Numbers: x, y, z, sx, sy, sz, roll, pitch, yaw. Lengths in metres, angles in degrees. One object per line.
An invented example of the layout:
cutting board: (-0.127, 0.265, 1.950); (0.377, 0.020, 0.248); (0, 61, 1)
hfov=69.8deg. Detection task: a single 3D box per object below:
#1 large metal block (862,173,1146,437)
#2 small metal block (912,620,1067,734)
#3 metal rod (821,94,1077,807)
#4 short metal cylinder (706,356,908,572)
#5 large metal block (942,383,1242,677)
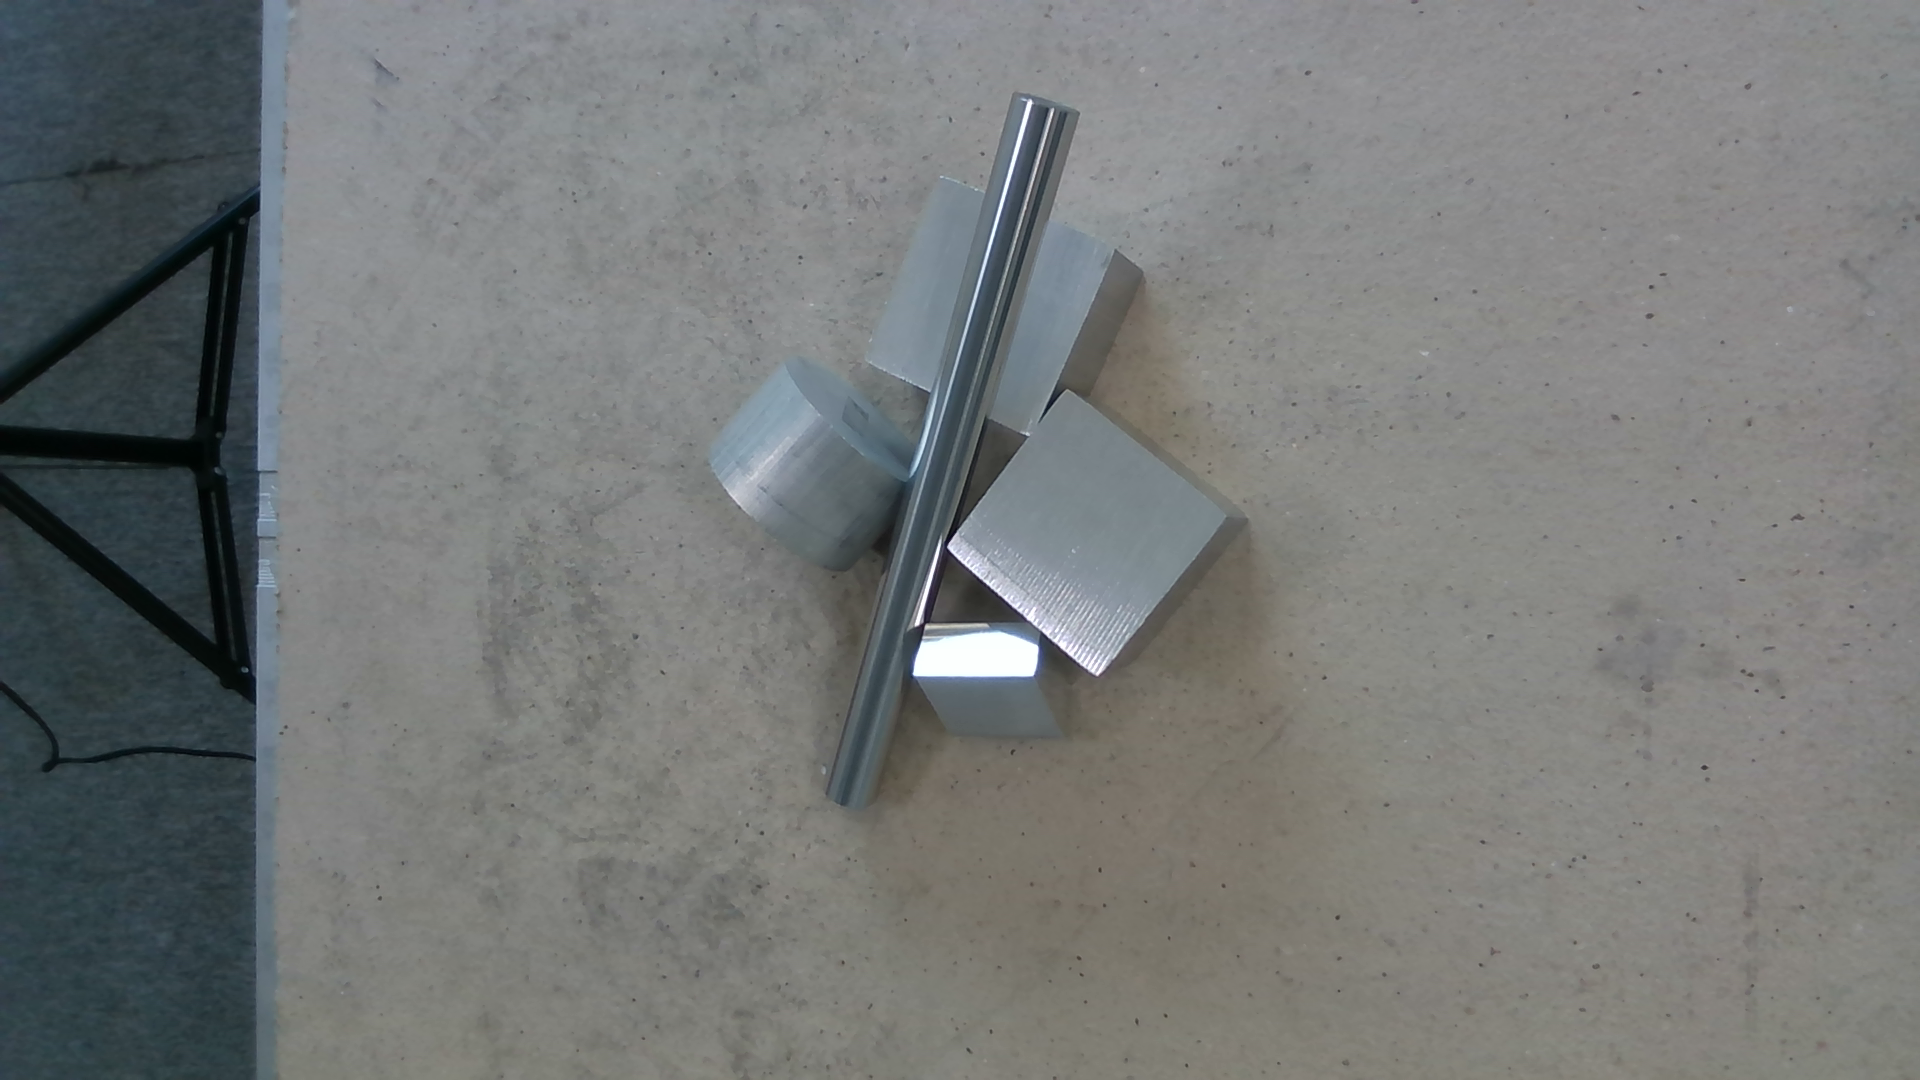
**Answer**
large metal block: (0.018, -0.093, 0.565); (0.080, 0.050, 0.080); (26, 99, 18)
small metal block: (0.014, 0.057, 0.566); (0.050, 0.050, 0.025); (-2, 54, 20)
metal rod: (-0.010, -0.022, 0.546); (0.025, 0.025, 0.301); (25, 115, 18)
short metal cylinder: (-0.059, -0.033, 0.578); (0.050, 0.080, 0.080); (-46, 76, 15)
large metal block: (0.054, -0.004, 0.550); (0.080, 0.050, 0.080); (41, 104, 15)
